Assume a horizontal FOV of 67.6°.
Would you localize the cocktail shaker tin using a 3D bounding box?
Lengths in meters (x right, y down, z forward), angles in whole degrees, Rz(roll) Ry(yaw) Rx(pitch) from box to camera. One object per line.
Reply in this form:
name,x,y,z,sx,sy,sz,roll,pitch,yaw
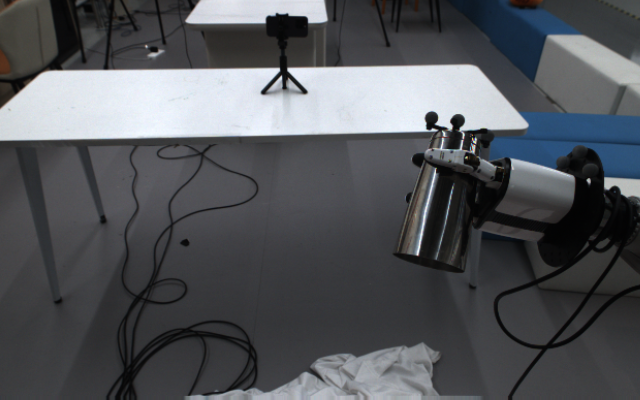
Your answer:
cocktail shaker tin,0.162,-0.004,0.629,0.093,0.093,0.170,13,79,15
